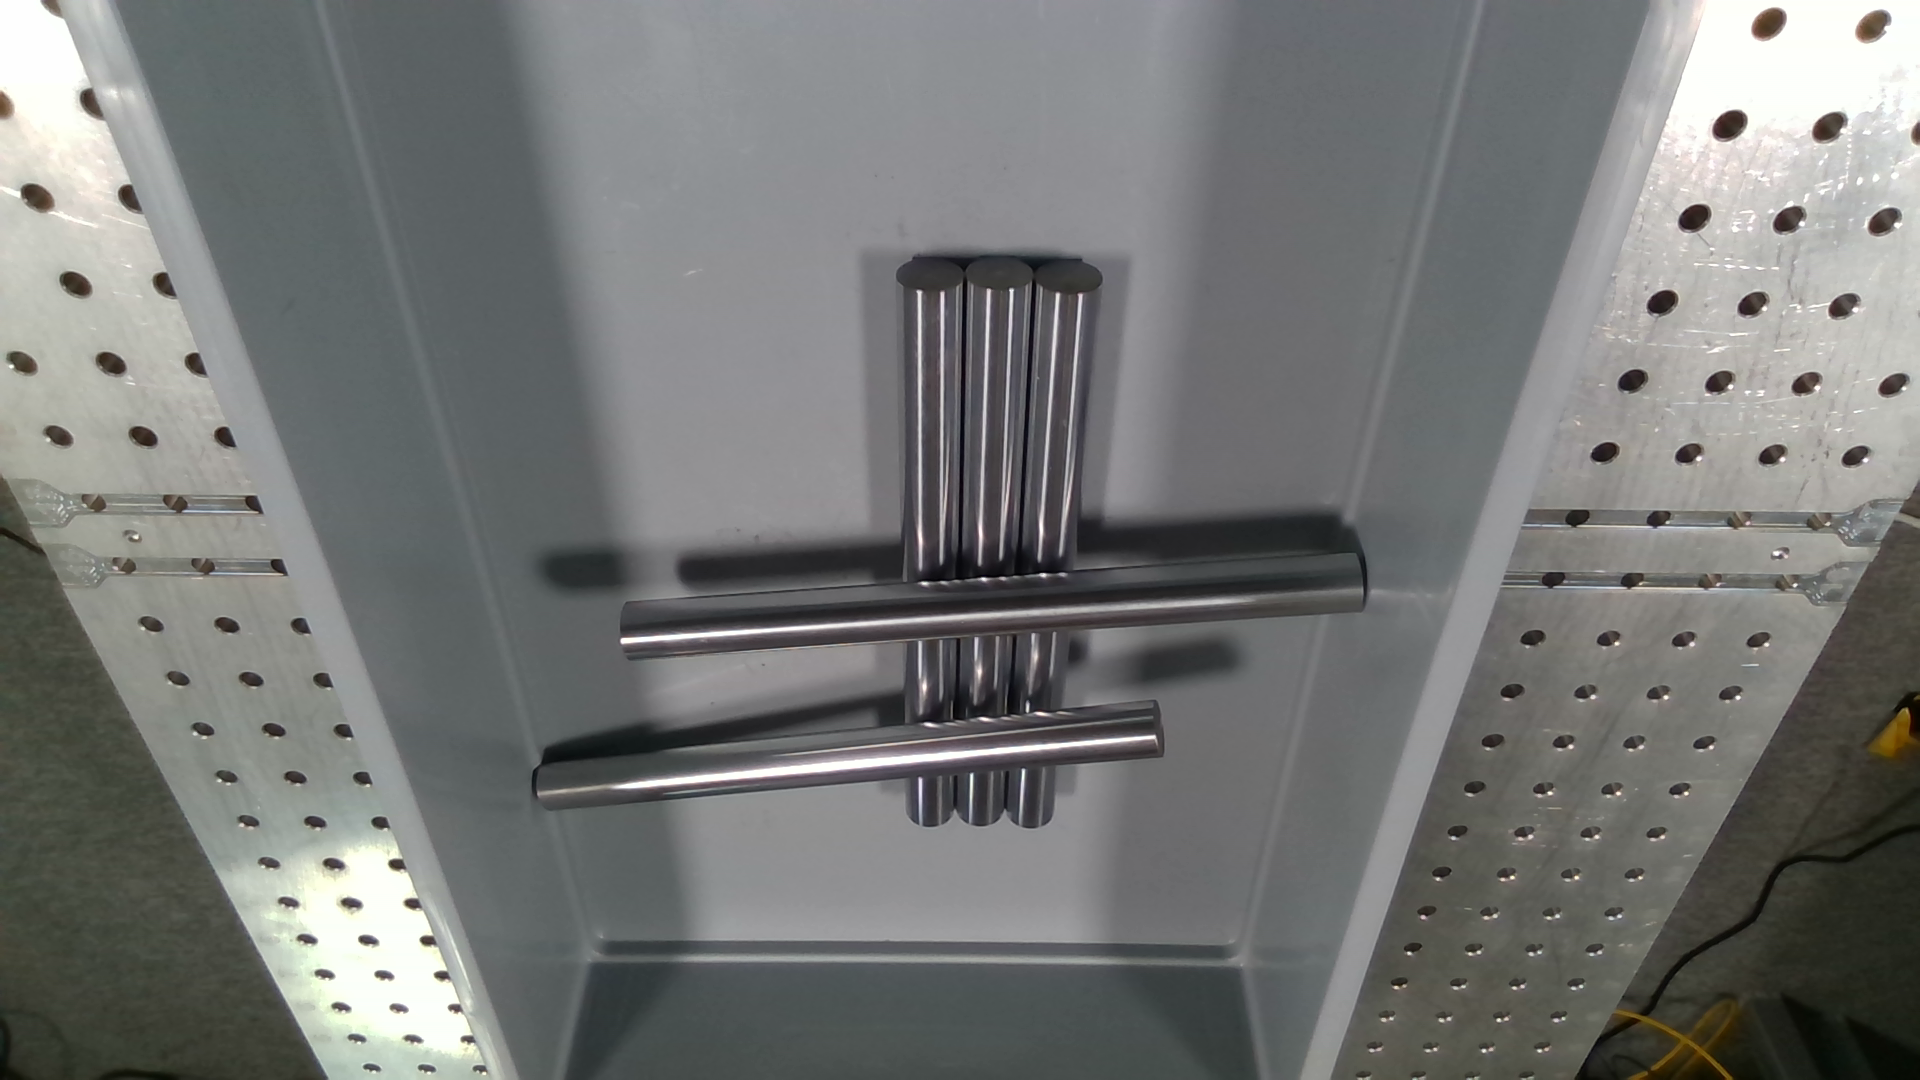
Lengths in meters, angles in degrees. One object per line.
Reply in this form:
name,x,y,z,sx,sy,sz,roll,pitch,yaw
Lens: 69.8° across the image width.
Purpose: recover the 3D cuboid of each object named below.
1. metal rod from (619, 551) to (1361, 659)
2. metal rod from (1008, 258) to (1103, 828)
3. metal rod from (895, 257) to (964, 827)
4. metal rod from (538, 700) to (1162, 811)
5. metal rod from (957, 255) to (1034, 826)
metal rod,0.011,0.027,0.568,0.300,0.025,0.025,-4,130,3
metal rod,0.037,0.019,0.594,0.025,0.025,0.301,1,130,-1
metal rod,-0.013,0.019,0.594,0.025,0.025,0.301,1,130,-1
metal rod,-0.057,0.101,0.637,0.300,0.025,0.025,-8,130,15
metal rod,0.012,0.018,0.593,0.025,0.025,0.301,1,130,-1
